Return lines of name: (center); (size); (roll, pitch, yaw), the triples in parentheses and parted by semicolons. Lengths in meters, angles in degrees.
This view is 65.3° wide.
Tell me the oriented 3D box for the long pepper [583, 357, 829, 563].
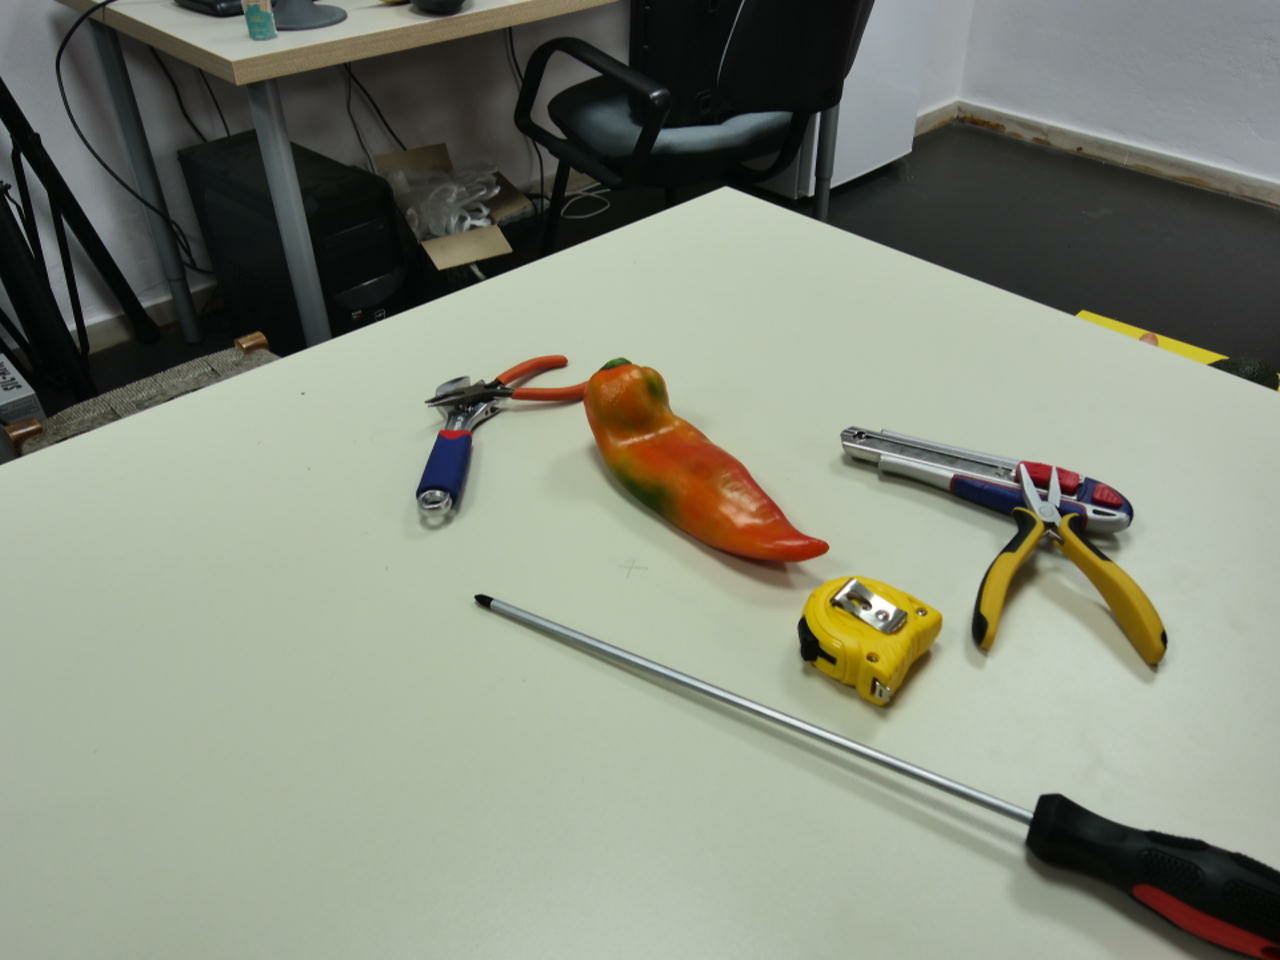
long pepper: (0.035, -0.011, 0.598); (0.066, 0.065, 0.199); (-24, 42, -28)
